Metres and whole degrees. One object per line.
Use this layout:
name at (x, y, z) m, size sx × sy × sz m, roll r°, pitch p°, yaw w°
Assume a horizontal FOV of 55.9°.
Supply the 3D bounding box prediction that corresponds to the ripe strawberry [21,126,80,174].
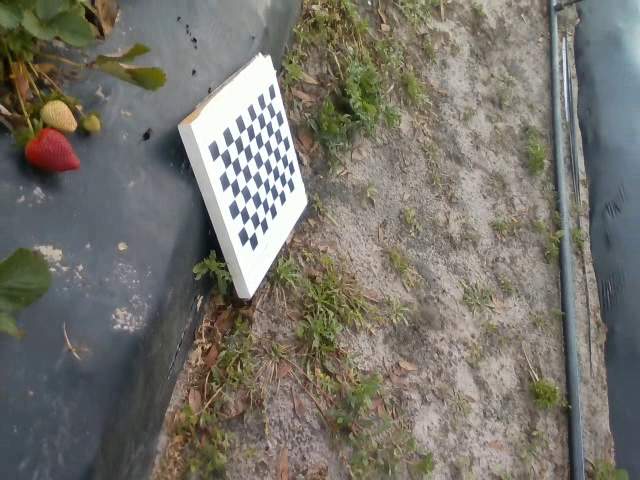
ripe strawberry at (-0.268, -0.089, 0.608) m, size 0.059 × 0.050 × 0.034 m, roll 28°, pitch -42°, yaw -8°
